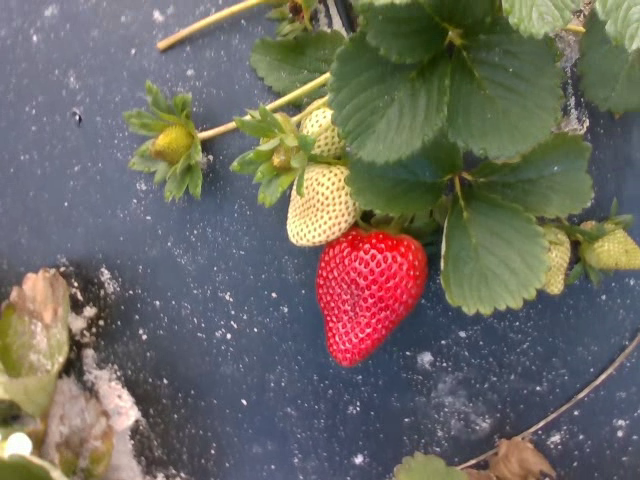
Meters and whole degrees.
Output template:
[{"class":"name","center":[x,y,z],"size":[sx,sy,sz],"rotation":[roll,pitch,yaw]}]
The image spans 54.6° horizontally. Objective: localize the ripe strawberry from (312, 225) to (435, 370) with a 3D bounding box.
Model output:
[{"class":"ripe strawberry","center":[0.014,0.026,0.252],"size":[0.051,0.055,0.048],"rotation":[13,-24,38]}]
